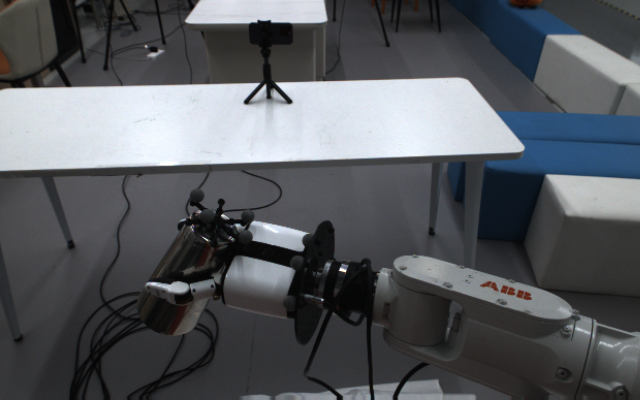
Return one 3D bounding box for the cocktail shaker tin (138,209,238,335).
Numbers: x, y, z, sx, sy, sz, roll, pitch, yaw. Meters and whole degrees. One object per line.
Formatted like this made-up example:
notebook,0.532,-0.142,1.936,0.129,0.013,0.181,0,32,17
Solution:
cocktail shaker tin,-0.173,0.091,0.649,0.093,0.170,0.093,26,32,-18
